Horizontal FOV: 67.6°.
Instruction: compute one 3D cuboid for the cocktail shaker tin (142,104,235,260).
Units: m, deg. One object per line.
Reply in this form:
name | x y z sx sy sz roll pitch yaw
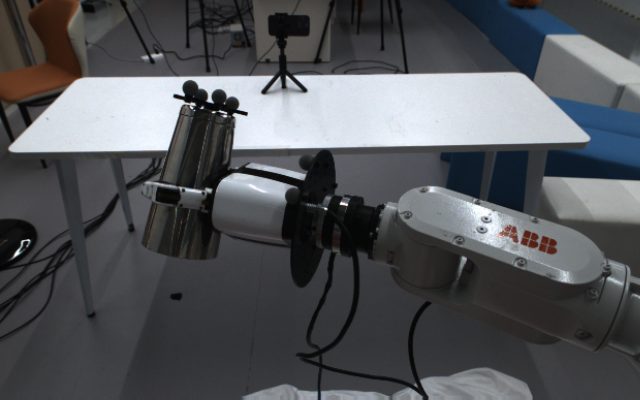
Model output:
cocktail shaker tin | -0.150 -0.022 0.584 0.093 0.170 0.093 13 5 -1
